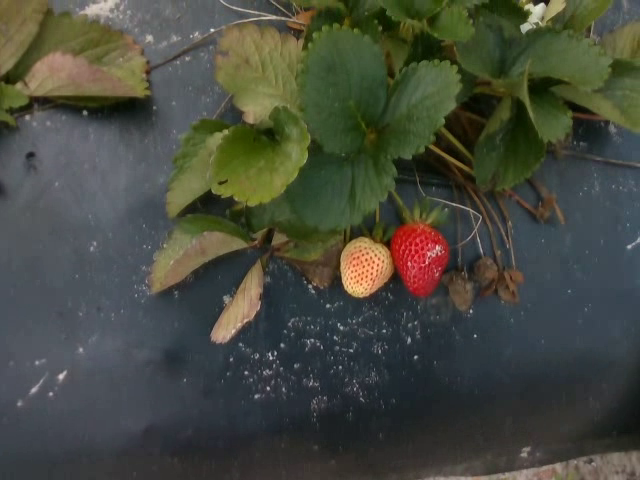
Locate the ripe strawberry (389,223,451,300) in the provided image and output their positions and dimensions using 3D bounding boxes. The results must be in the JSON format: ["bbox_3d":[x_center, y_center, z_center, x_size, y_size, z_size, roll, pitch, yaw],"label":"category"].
[{"bbox_3d":[0.050,0.010,0.318,0.034,0.042,0.033,24,-36,-19],"label":"ripe strawberry"}]
